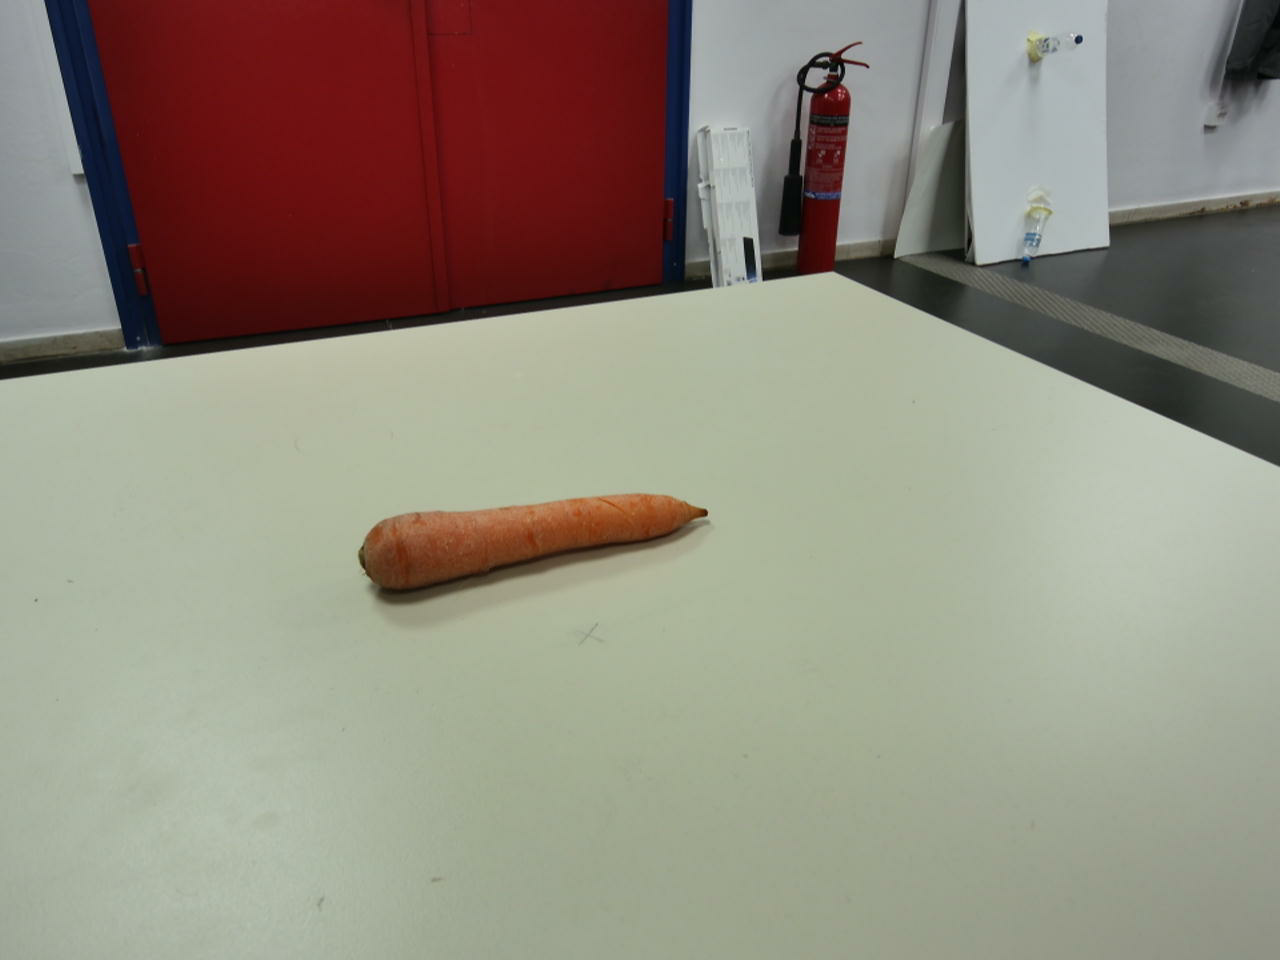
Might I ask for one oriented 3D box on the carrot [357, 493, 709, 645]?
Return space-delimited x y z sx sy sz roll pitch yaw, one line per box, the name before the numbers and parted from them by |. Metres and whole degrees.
carrot | -0.048 0.023 0.539 0.196 0.041 0.039 -12 28 -22
